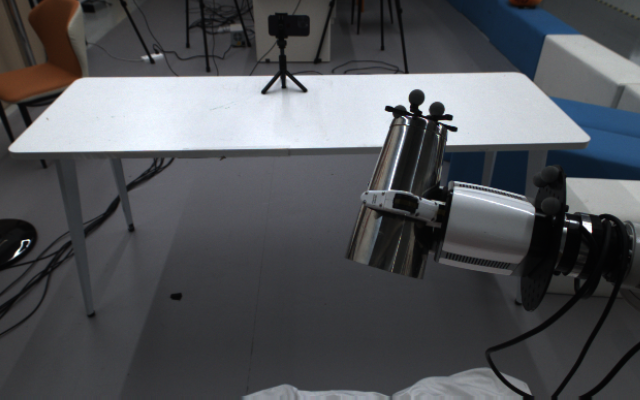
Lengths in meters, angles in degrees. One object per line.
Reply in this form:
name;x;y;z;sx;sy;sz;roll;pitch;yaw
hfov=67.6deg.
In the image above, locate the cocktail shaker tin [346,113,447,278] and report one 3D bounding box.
cocktail shaker tin;0.095;-0.004;0.555;0.093;0.170;0.093;15;-4;1
